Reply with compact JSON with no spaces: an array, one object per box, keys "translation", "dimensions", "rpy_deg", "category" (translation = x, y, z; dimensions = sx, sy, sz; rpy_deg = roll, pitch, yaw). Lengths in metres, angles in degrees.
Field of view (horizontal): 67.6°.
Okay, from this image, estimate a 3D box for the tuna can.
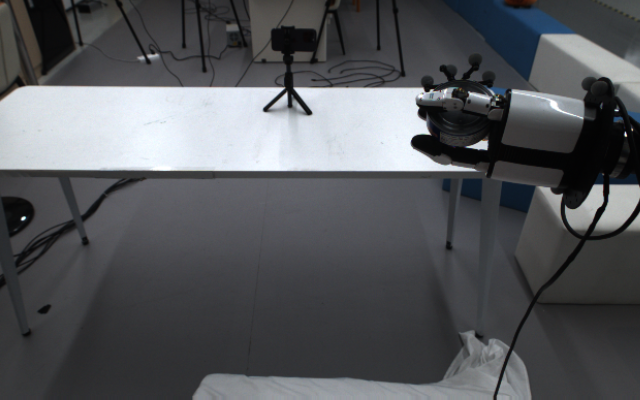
[{"translation":[0.180,-0.114,0.627],"dimensions":[0.085,0.034,0.085],"rpy_deg":[-6,59,10],"category":"tuna can"}]
